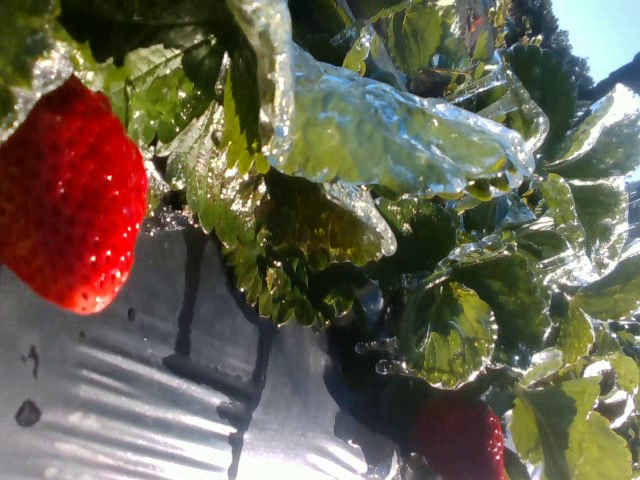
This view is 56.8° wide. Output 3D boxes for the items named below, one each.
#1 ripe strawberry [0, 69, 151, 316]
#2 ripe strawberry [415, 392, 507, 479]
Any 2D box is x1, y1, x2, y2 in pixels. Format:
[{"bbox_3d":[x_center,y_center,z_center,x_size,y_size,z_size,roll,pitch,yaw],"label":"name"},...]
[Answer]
[{"bbox_3d":[-0.047,-0.007,0.102,0.037,0.040,0.051,31,15,-47],"label":"ripe strawberry"},{"bbox_3d":[0.061,0.090,0.236,0.047,0.053,0.041,-36,-45,13],"label":"ripe strawberry"}]
